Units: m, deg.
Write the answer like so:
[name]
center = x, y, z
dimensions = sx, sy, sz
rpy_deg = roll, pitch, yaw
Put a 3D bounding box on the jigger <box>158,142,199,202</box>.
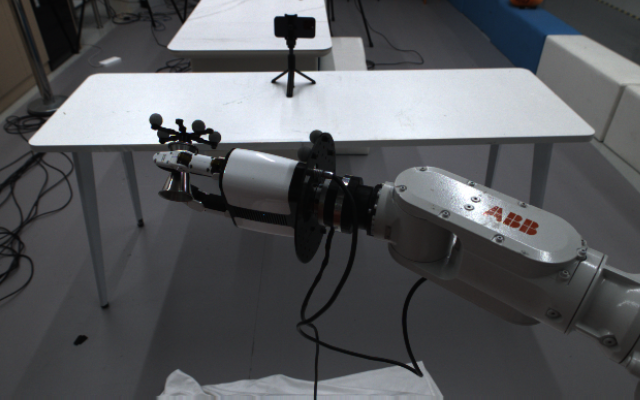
[jigger]
center = -0.182, -0.037, 0.624
dimensions = 0.043, 0.043, 0.071
rpy_deg = 3, 73, 1
